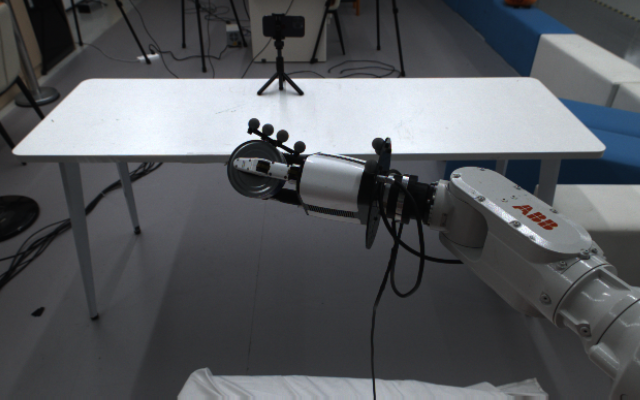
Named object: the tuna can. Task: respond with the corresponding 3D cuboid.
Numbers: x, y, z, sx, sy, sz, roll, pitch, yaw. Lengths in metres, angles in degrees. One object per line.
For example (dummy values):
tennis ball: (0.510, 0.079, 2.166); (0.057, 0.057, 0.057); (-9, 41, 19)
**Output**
tuna can: (-0.091, -0.044, 0.720); (0.085, 0.085, 0.034); (9, -4, 11)
